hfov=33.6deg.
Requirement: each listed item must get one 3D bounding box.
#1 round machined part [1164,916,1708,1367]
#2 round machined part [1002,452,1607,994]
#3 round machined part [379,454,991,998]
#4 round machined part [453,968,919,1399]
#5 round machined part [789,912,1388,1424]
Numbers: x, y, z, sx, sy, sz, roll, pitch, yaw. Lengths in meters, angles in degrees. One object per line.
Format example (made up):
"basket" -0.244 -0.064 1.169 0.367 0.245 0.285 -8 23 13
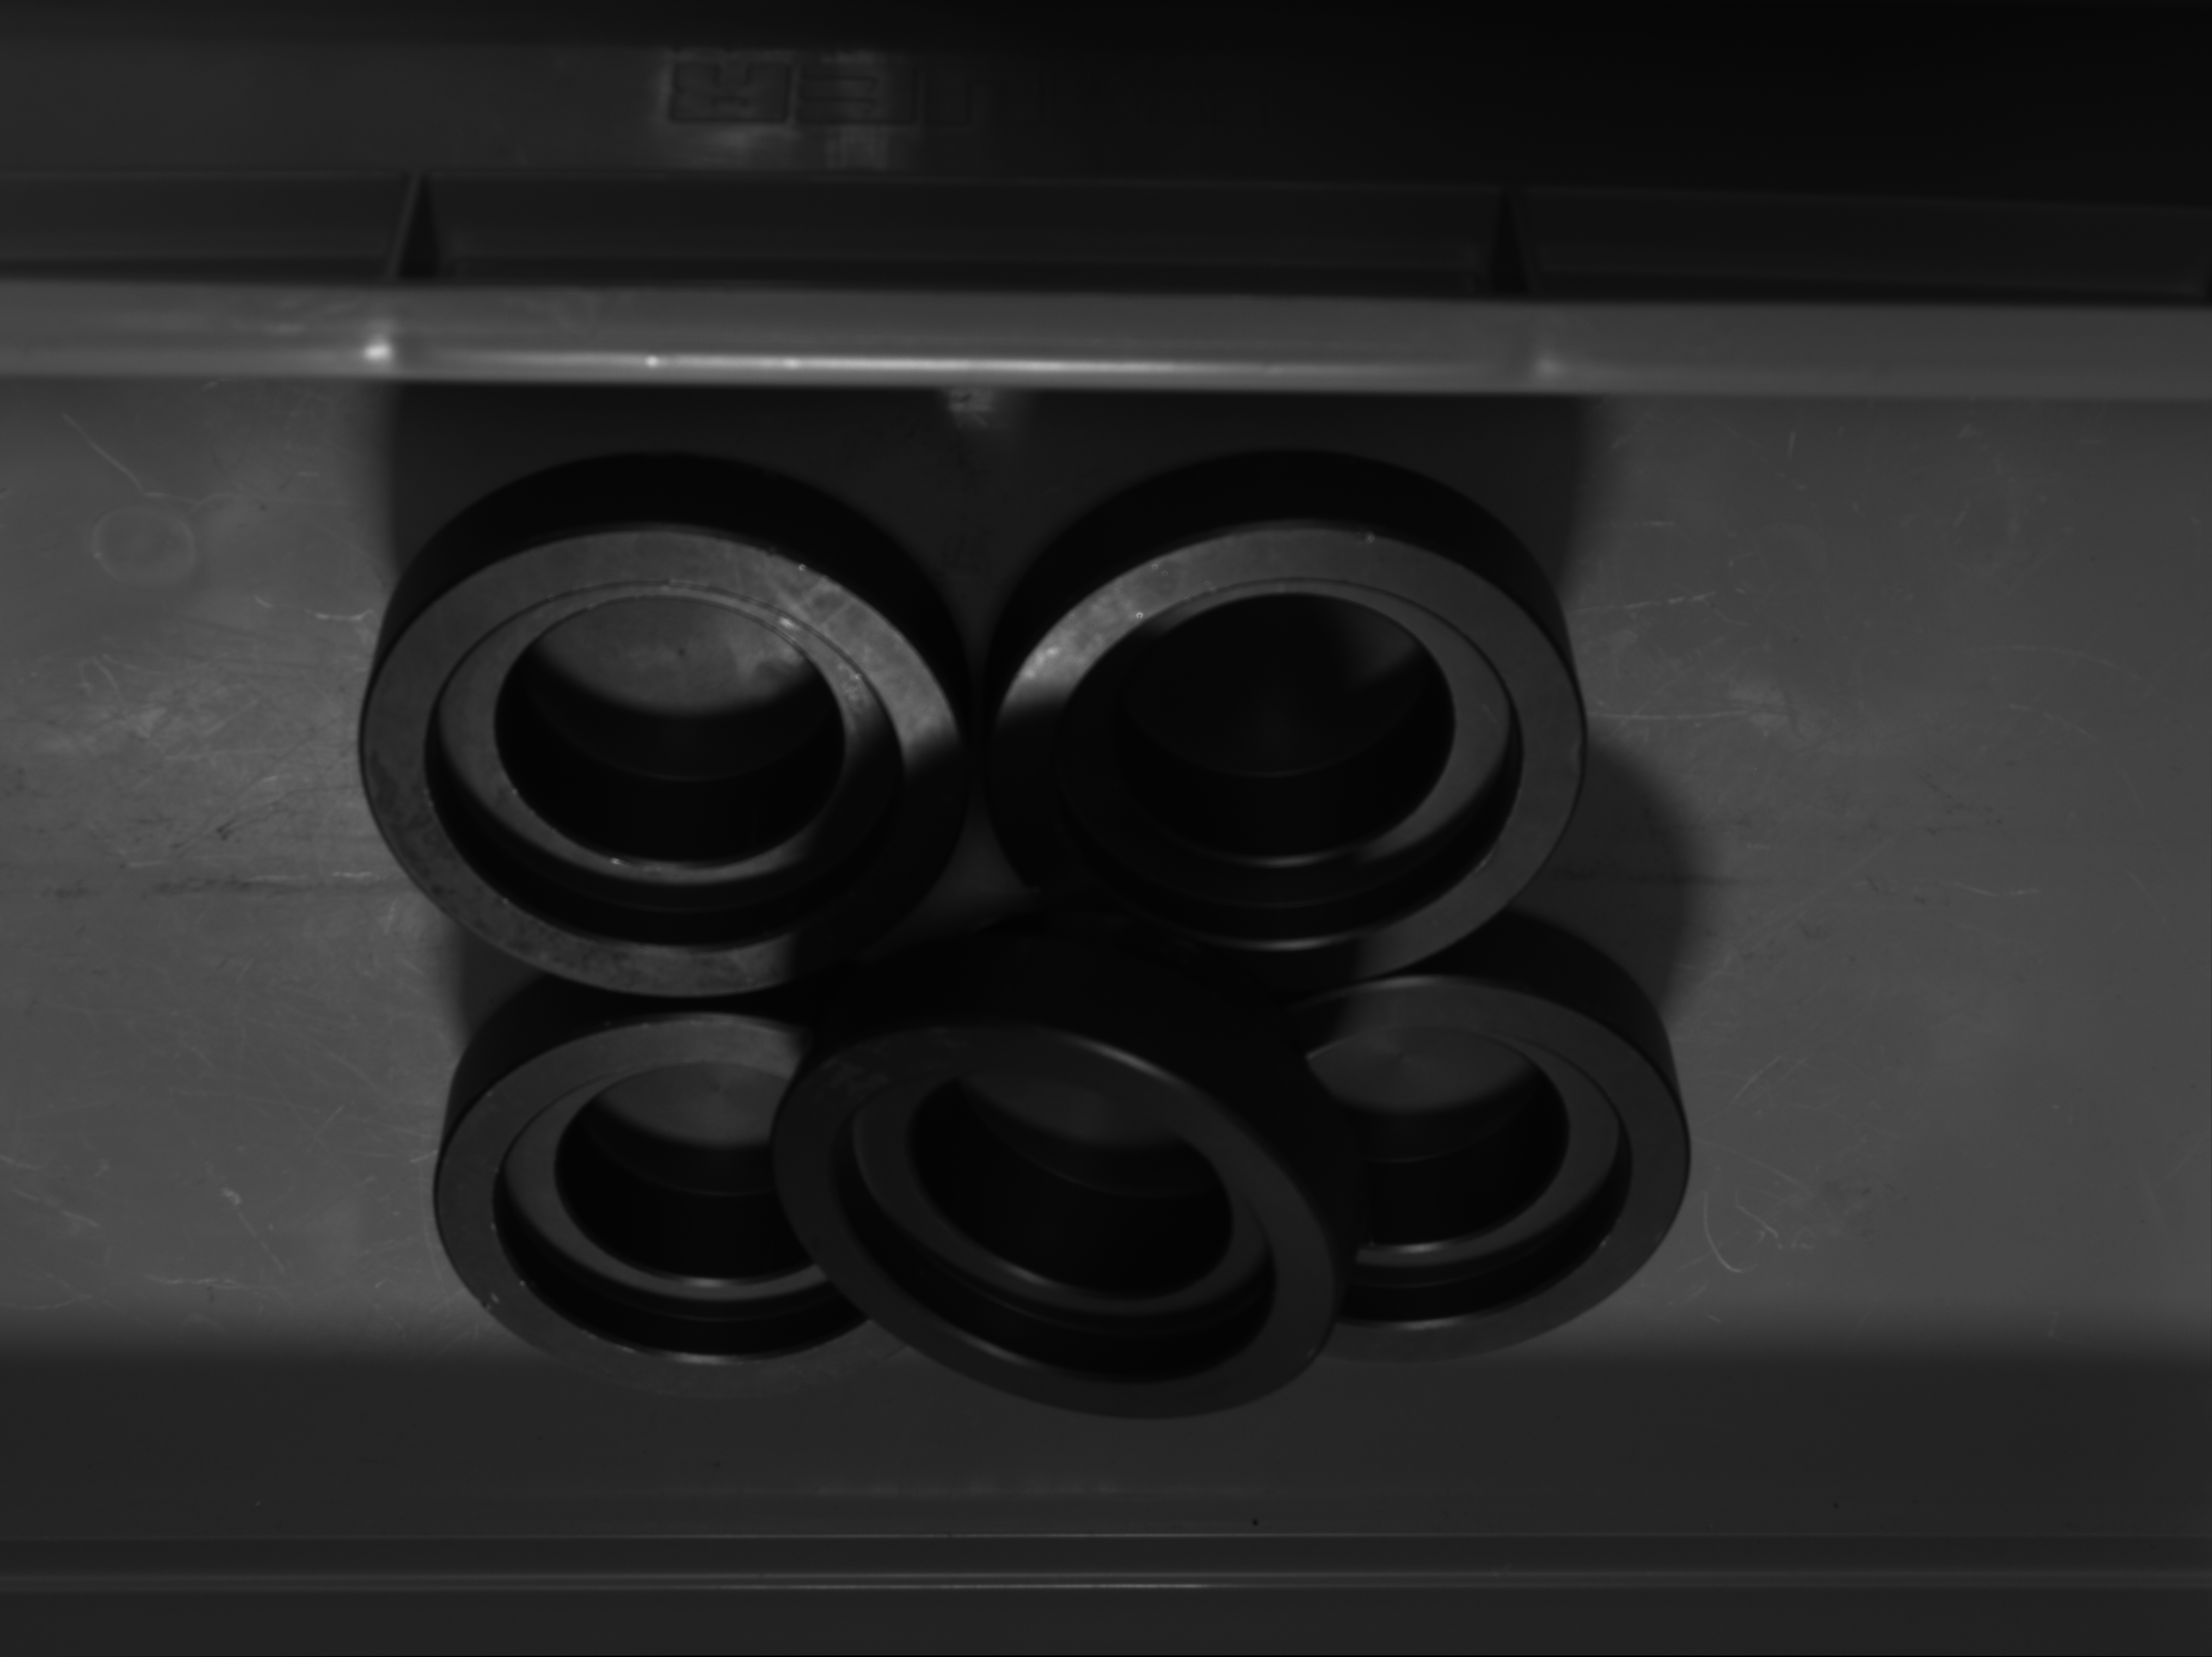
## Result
"round machined part" 0.058 0.050 0.670 0.098 0.042 0.098 -1 130 -1
"round machined part" 0.032 -0.022 0.608 0.098 0.042 0.098 -1 130 -1
"round machined part" -0.068 -0.022 0.605 0.098 0.042 0.098 -1 130 -1
"round machined part" -0.068 0.057 0.671 0.098 0.042 0.098 -1 130 -1
"round machined part" 0.000 0.052 0.614 0.098 0.042 0.098 12 136 12
